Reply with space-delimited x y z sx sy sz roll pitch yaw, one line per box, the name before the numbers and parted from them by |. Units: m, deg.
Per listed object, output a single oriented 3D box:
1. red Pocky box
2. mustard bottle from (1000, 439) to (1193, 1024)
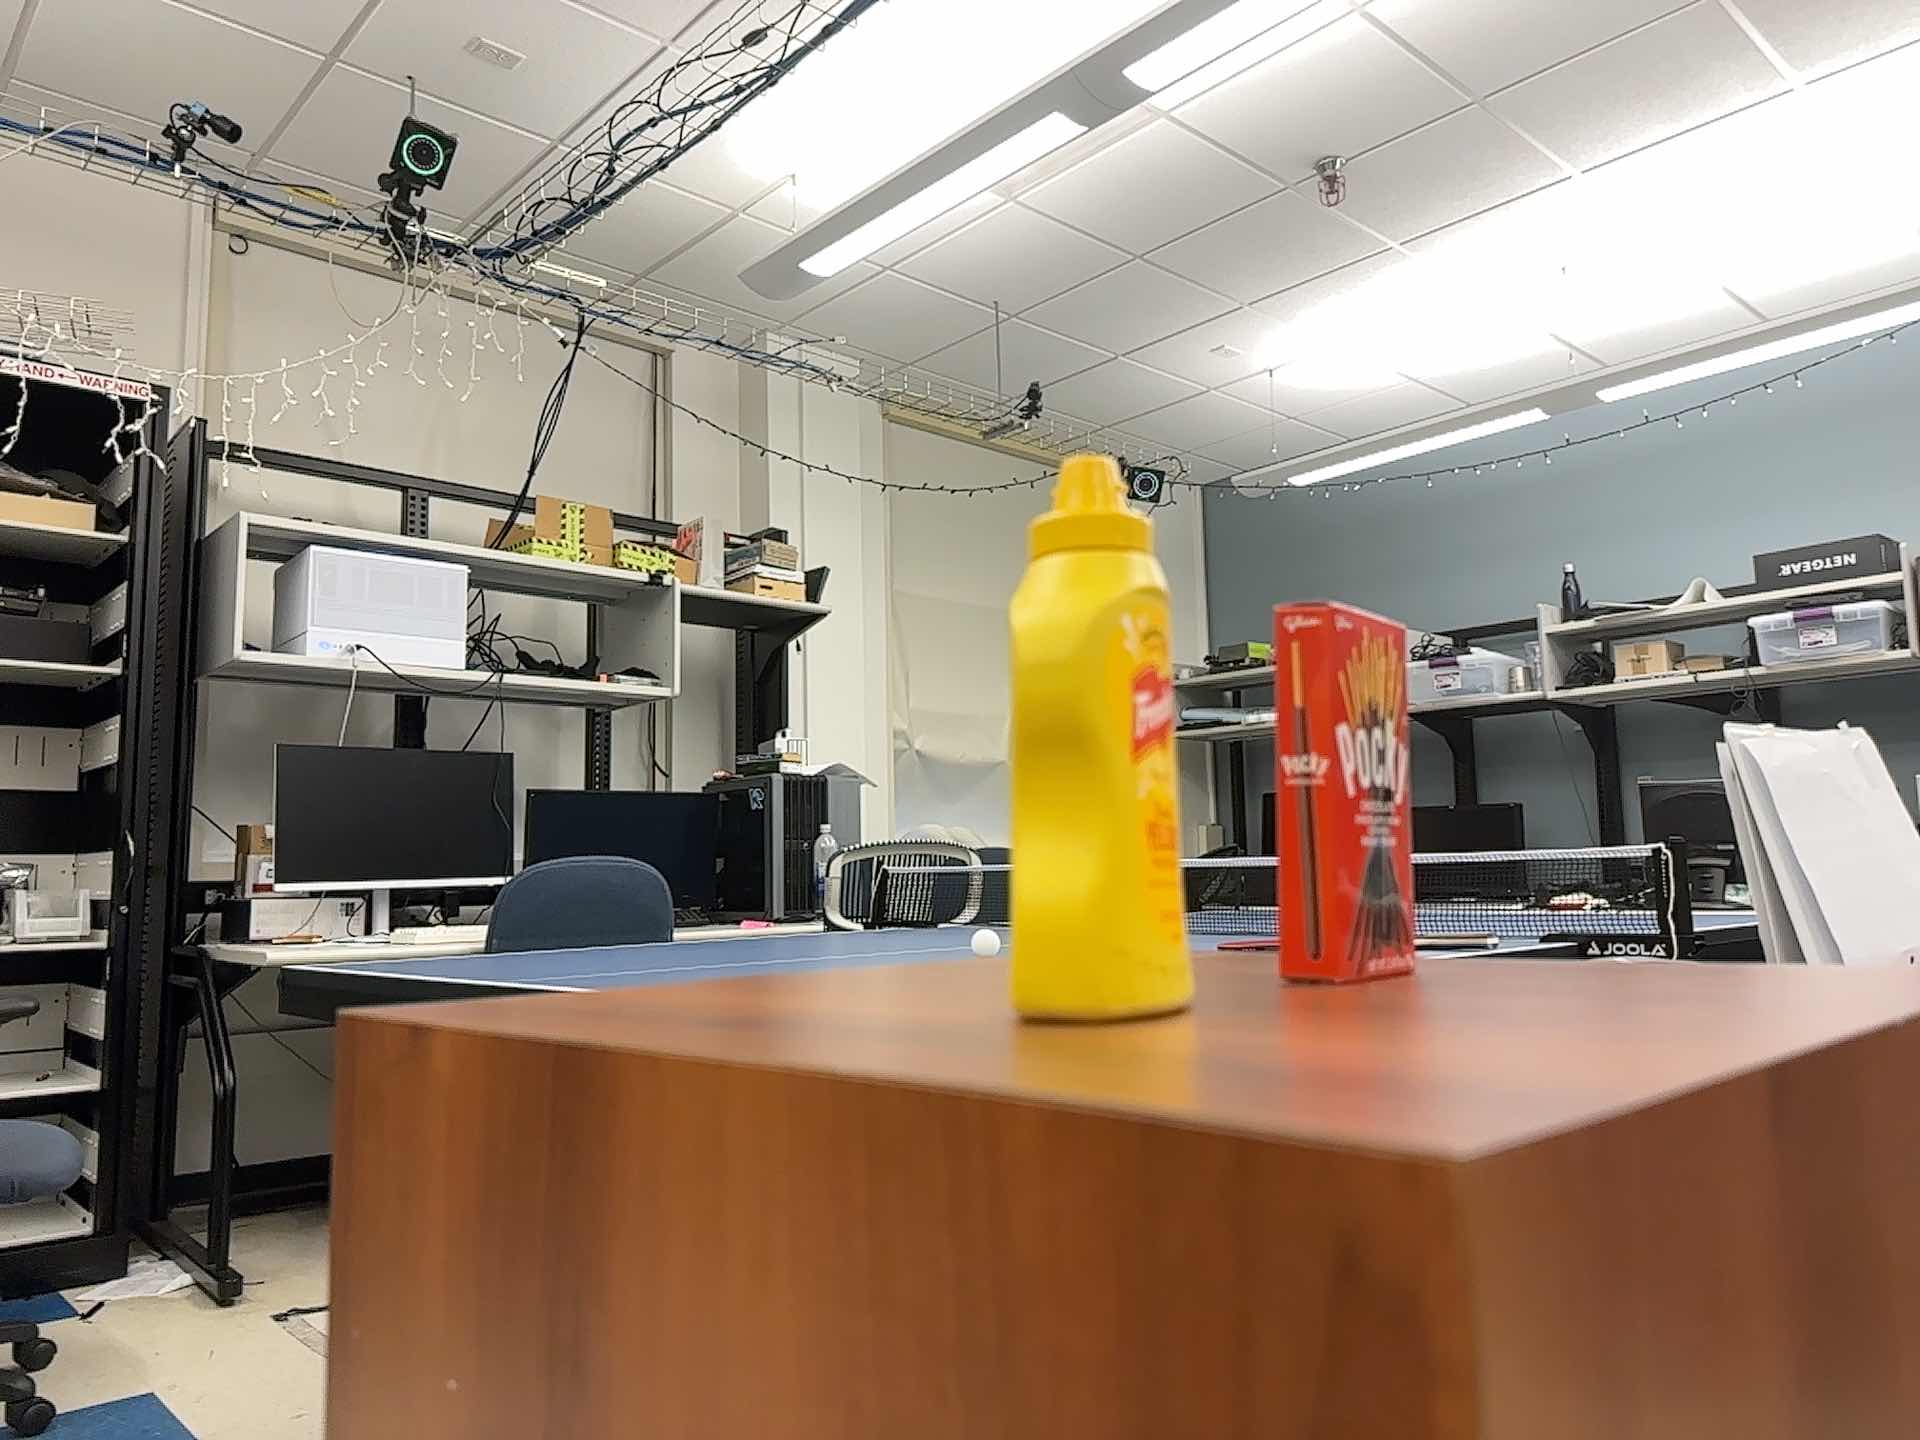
red Pocky box | 0.159 0.031 0.552 0.028 0.155 0.082 -7 -10 42
mustard bottle | 0.042 0.000 0.428 0.054 0.184 0.092 -5 -9 29
